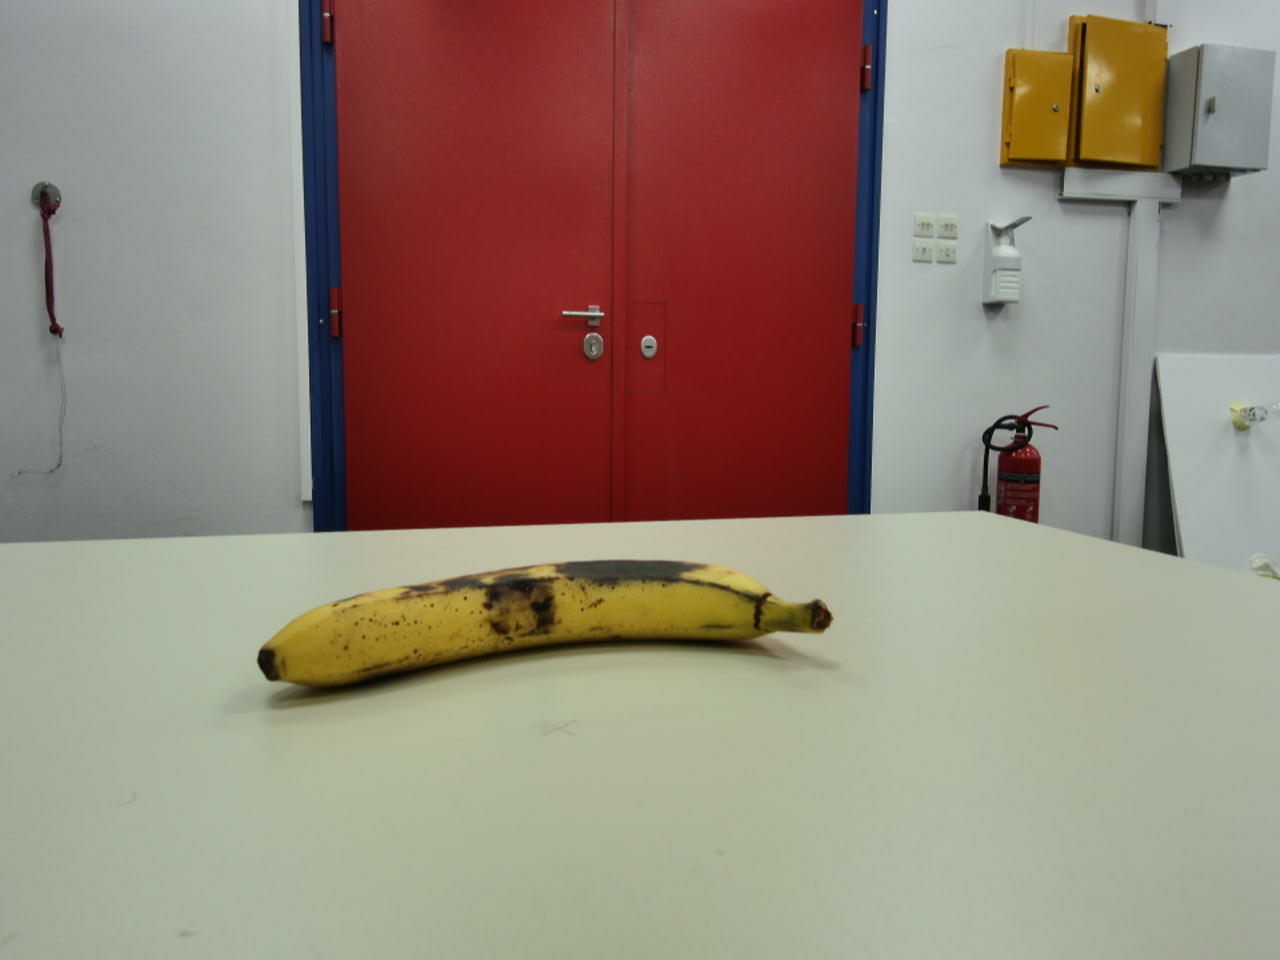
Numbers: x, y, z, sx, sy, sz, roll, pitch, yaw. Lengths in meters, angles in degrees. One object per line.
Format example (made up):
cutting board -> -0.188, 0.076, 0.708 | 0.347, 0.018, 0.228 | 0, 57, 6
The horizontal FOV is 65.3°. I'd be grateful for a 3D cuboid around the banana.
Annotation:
banana -> -0.038, 0.057, 0.418 | 0.222, 0.037, 0.084 | -1, 4, -13
